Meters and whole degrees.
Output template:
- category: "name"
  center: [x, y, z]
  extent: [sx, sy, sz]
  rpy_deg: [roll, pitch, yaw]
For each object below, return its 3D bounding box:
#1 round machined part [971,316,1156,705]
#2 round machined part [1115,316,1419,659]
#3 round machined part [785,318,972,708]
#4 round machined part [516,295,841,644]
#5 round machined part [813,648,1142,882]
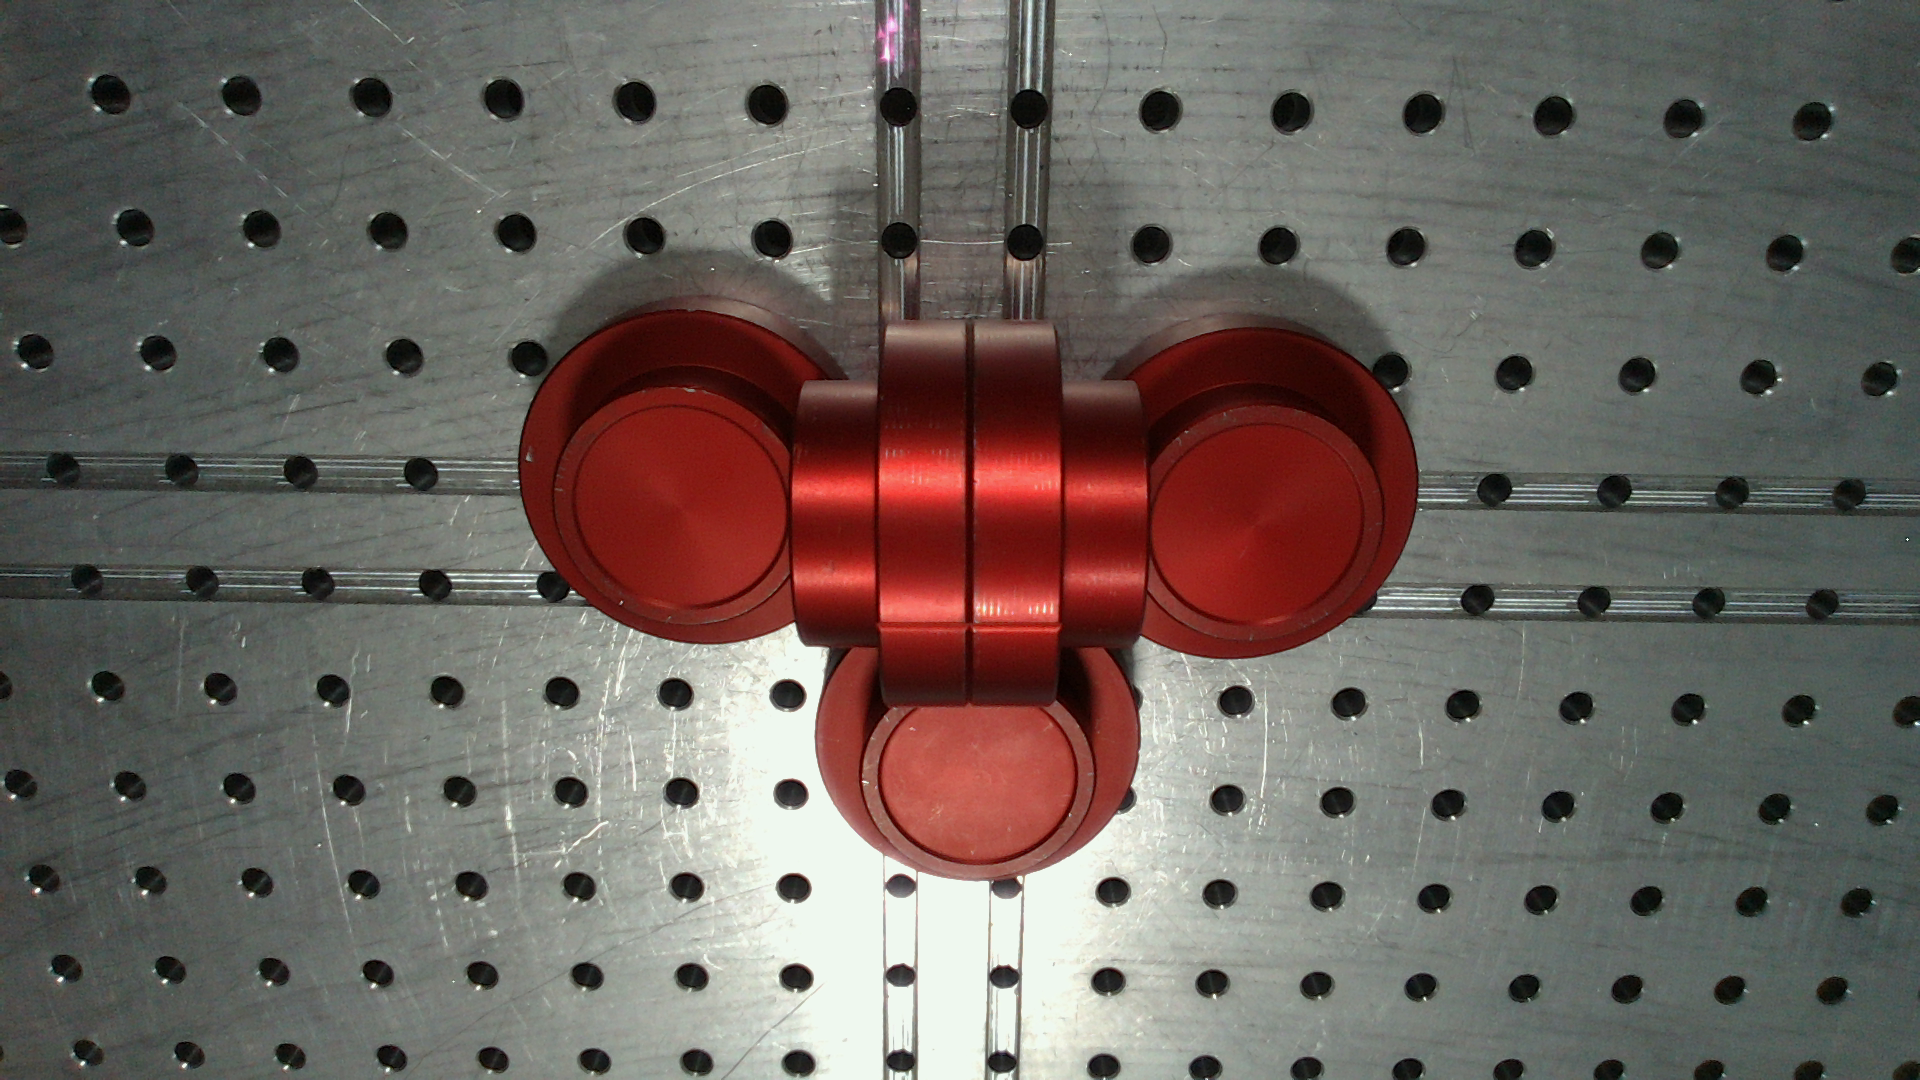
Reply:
- category: "round machined part"
  center: [0.024, -0.008, 0.349]
  extent: [0.042, 0.098, 0.098]
  rpy_deg: [-1, 110, 0]
- category: "round machined part"
  center: [0.079, -0.011, 0.383]
  extent: [0.098, 0.042, 0.098]
  rpy_deg: [0, 110, 0]
- category: "round machined part"
  center: [-0.019, -0.007, 0.348]
  extent: [0.042, 0.098, 0.098]
  rpy_deg: [1, 110, 0]
- category: "round machined part"
  center: [-0.074, -0.015, 0.381]
  extent: [0.098, 0.042, 0.098]
  rpy_deg: [0, 110, 0]
- category: "round machined part"
  center: [0.005, 0.061, 0.410]
  extent: [0.098, 0.042, 0.098]
  rpy_deg: [0, 110, 0]
